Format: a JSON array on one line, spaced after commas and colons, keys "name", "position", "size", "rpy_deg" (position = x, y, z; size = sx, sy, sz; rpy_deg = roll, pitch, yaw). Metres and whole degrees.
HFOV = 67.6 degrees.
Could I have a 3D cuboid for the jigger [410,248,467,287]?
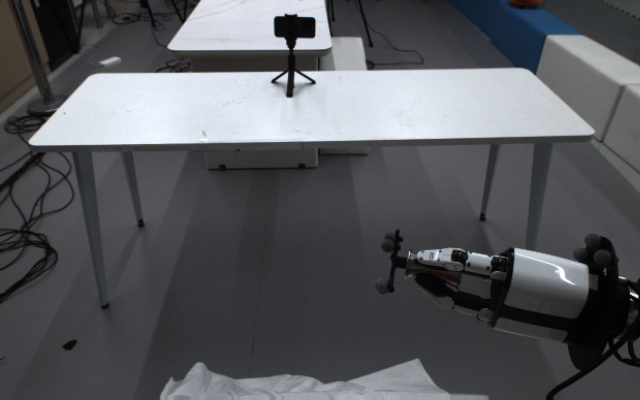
[{"name": "jigger", "position": [0.153, 0.084, 0.625], "size": [0.071, 0.043, 0.043], "rpy_deg": [8, 35, 13]}]
